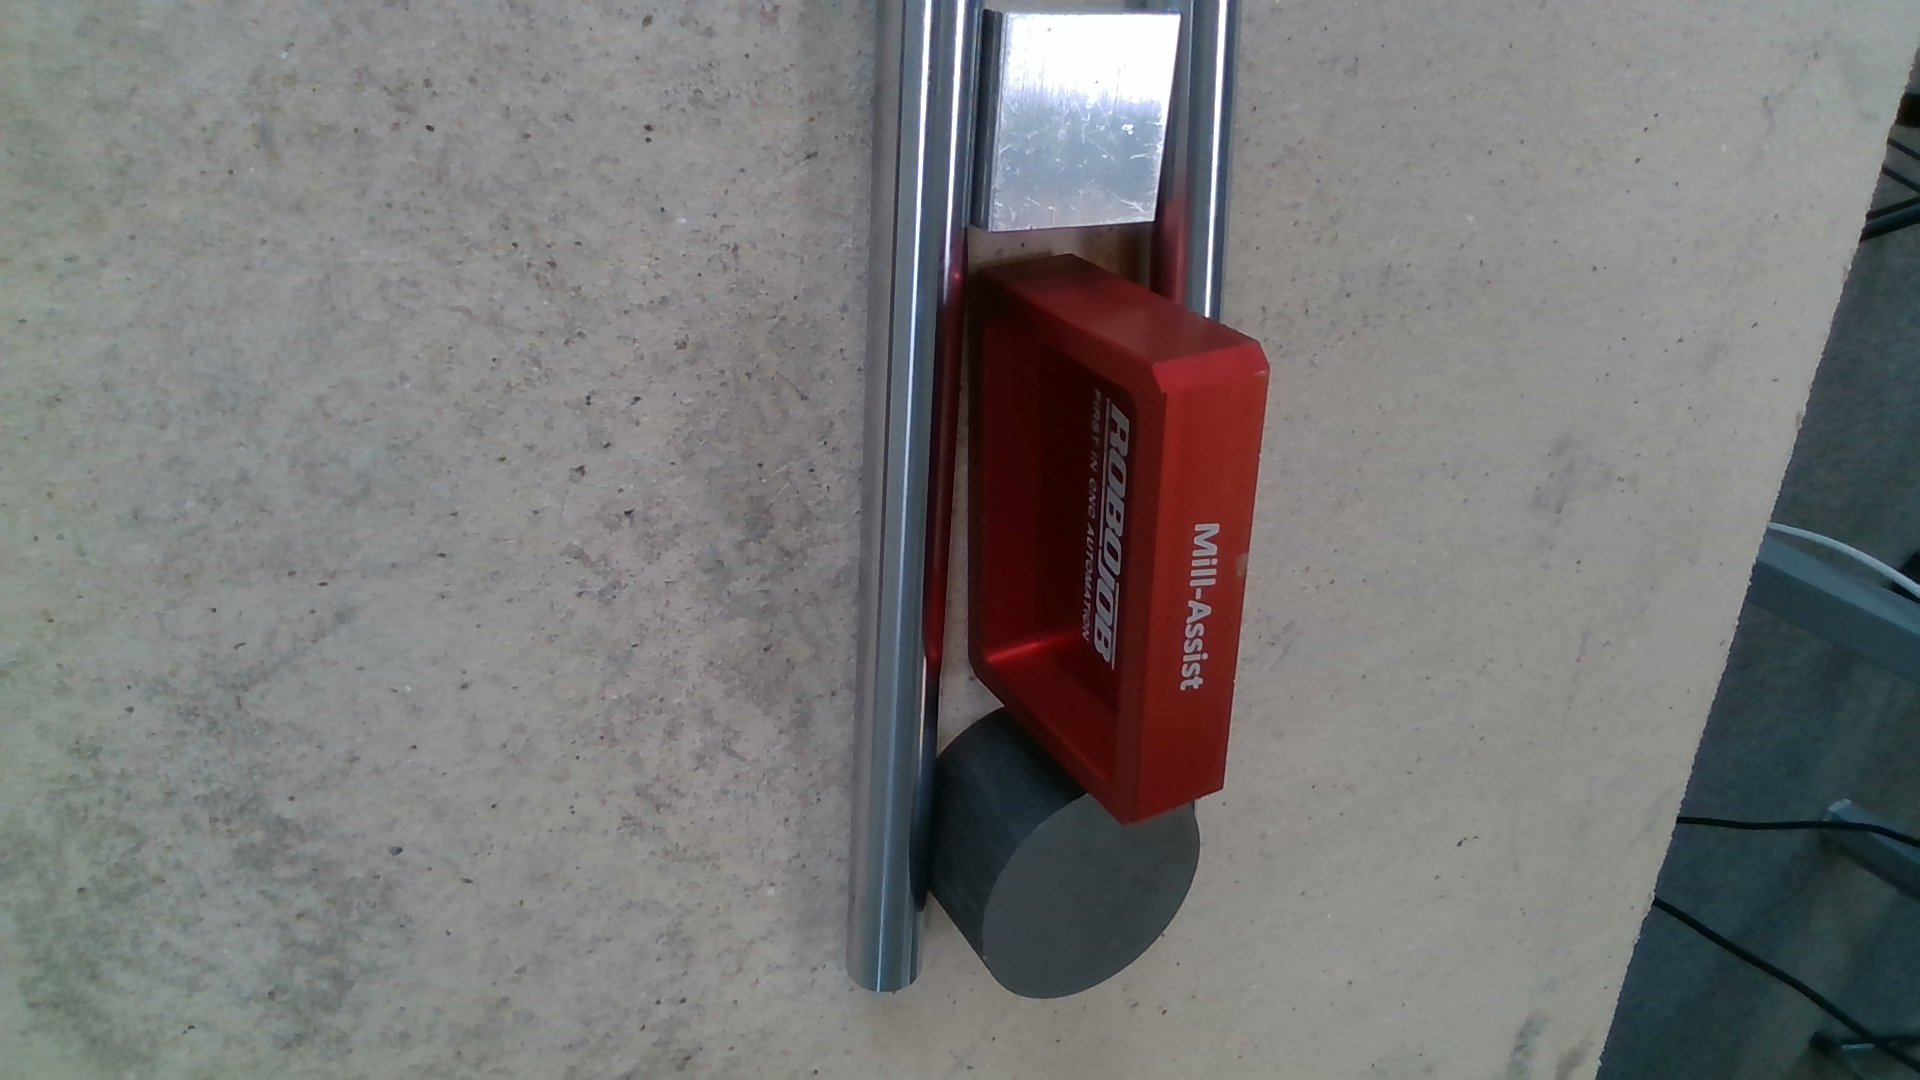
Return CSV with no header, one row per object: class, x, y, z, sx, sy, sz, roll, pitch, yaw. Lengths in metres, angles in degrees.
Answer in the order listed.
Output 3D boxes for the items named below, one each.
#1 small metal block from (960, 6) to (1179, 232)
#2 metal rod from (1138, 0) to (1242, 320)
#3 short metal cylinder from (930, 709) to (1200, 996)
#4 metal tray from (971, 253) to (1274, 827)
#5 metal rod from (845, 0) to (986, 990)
small metal block,0.024,-0.107,0.348,0.050,0.025,0.050,-10,120,-27
metal rod,0.065,-0.013,0.423,0.025,0.025,0.301,-17,123,-23
short metal cylinder,0.030,0.098,0.445,0.080,0.050,0.080,-14,122,-25
metal tray,0.037,-0.001,0.369,0.030,0.090,0.130,-15,121,-25
metal rod,-0.016,0.004,0.383,0.025,0.025,0.301,-11,120,-27
